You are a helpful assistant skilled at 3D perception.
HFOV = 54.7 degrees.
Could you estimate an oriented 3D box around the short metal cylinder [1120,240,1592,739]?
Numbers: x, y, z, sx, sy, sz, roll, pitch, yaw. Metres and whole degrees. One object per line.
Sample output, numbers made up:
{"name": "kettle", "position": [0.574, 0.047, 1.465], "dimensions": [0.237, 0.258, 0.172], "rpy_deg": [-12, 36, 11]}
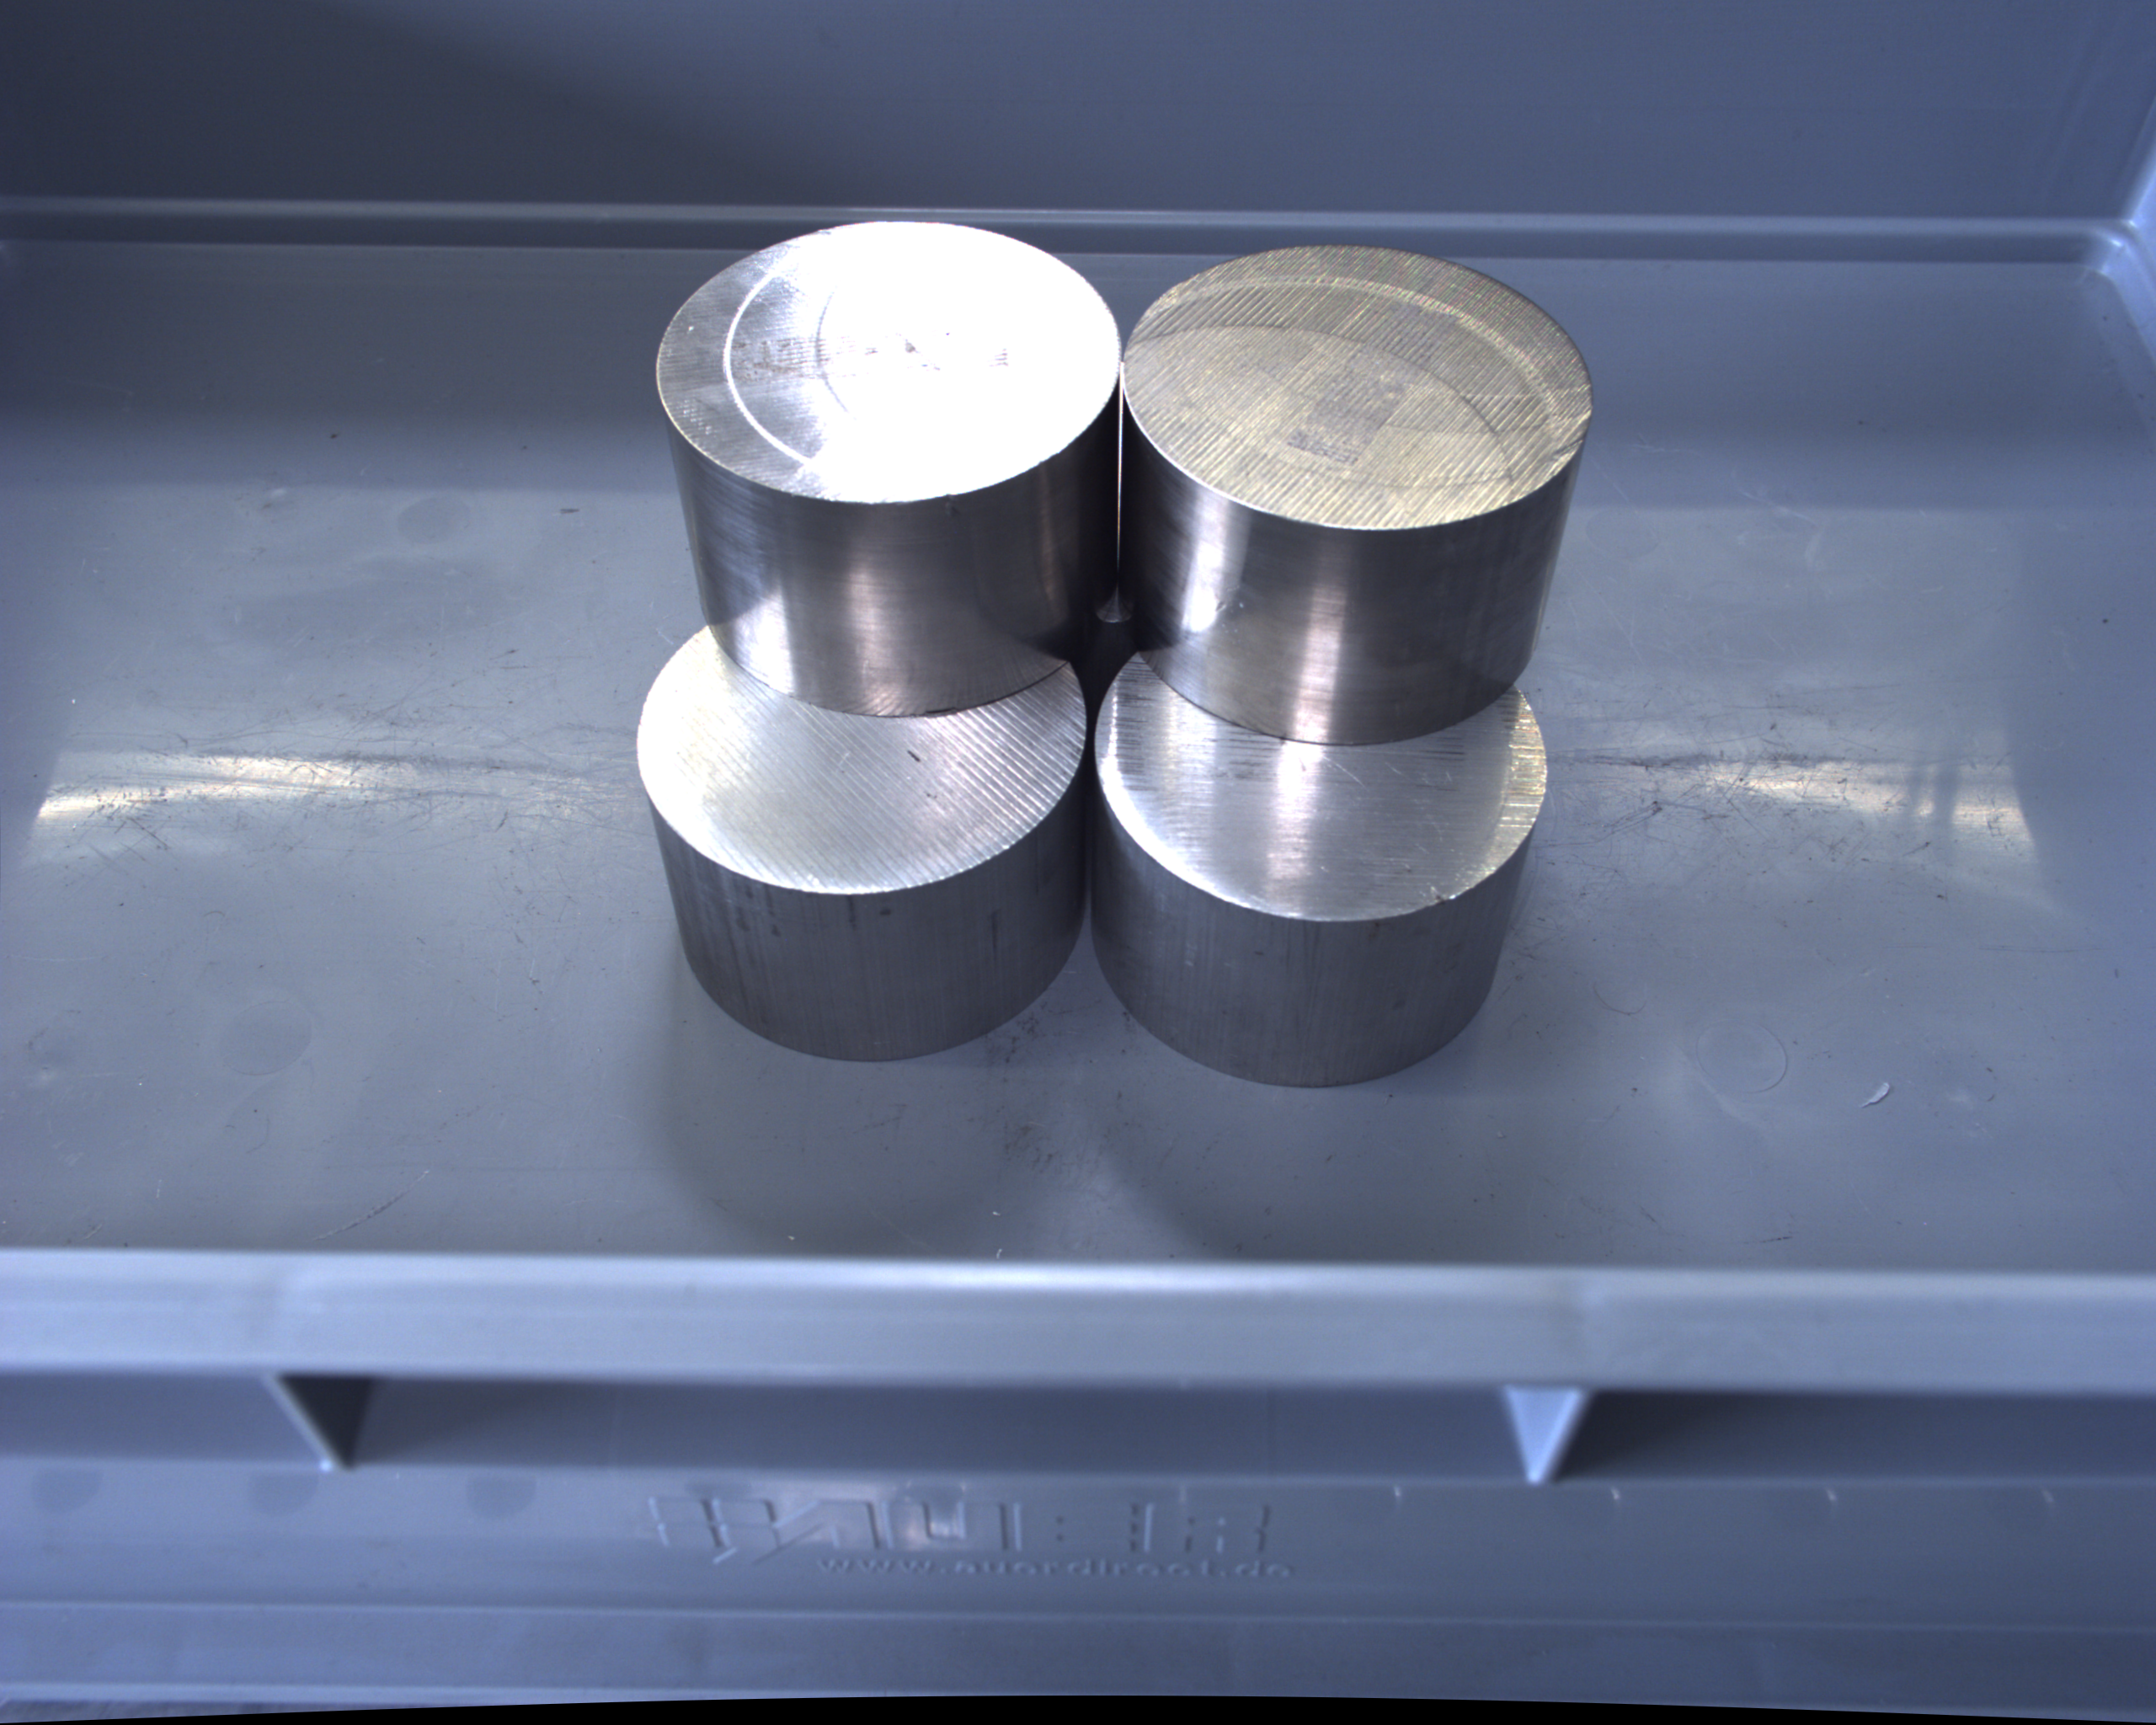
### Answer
{"name": "short metal cylinder", "position": [0.048, -0.068, 0.378], "dimensions": [0.080, 0.050, 0.080], "rpy_deg": [0, 50, 0]}

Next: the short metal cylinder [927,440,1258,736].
{"name": "short metal cylinder", "position": [0.006, -0.061, 0.438], "dimensions": [0.080, 0.050, 0.080], "rpy_deg": [0, 50, 0]}

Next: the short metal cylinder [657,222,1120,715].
{"name": "short metal cylinder", "position": [-0.033, -0.073, 0.383], "dimensions": [0.080, 0.050, 0.080], "rpy_deg": [0, 50, 0]}

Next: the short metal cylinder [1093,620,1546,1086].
{"name": "short metal cylinder", "position": [0.043, -0.005, 0.391], "dimensions": [0.080, 0.050, 0.080], "rpy_deg": [0, 50, 0]}

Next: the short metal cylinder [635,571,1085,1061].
{"name": "short metal cylinder", "position": [-0.039, -0.010, 0.394], "dimensions": [0.080, 0.050, 0.080], "rpy_deg": [0, 50, 0]}
